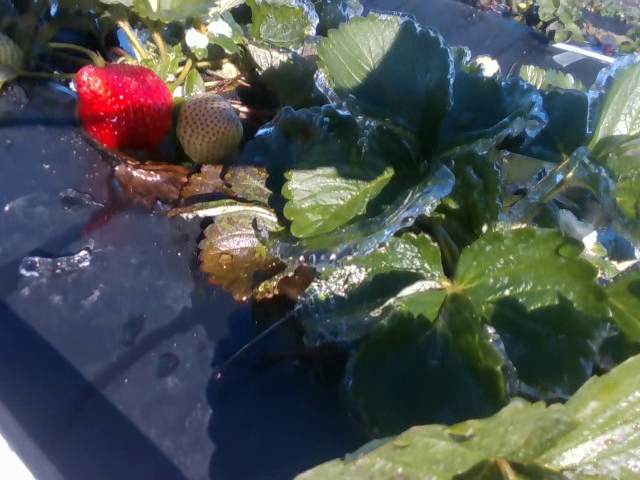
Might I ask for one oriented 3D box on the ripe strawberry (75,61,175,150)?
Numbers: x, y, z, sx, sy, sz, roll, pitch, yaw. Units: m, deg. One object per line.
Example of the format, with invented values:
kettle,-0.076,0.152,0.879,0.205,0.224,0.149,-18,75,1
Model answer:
ripe strawberry,-0.079,-0.053,0.235,0.040,0.042,0.053,0,-6,8
